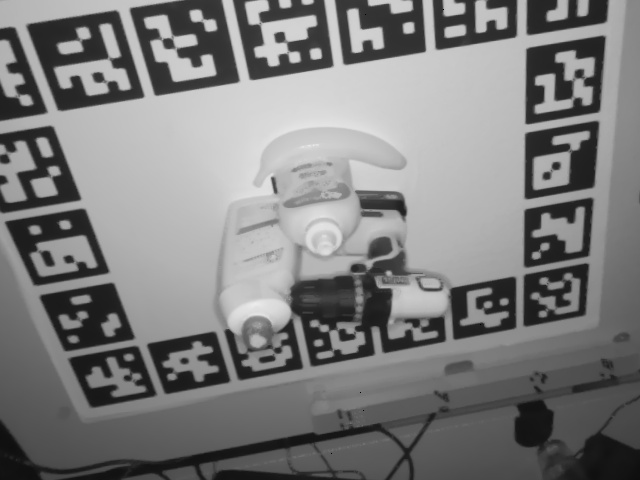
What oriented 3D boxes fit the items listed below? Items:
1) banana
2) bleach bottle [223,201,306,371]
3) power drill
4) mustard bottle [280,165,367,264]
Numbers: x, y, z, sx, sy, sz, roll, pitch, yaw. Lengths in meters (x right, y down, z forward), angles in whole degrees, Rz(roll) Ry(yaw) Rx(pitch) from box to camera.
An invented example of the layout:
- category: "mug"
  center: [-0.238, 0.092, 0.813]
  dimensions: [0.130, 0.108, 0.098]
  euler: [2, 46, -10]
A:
- category: "banana"
  center: [0.014, -0.093, 0.846]
  dimensions: [0.198, 0.039, 0.073]
  euler: [-5, 117, -6]
- category: "bleach bottle"
  center: [-0.057, 0.048, 0.788]
  dimensions: [0.103, 0.252, 0.067]
  euler: [-6, 124, -2]
- category: "power drill"
  center: [0.054, 0.041, 0.801]
  dimensions: [0.185, 0.188, 0.057]
  euler: [3, 119, -5]
- category: "mustard bottle"
  center: [0.003, -0.024, 0.784]
  dimensions: [0.096, 0.192, 0.058]
  euler: [-8, 119, 0]
